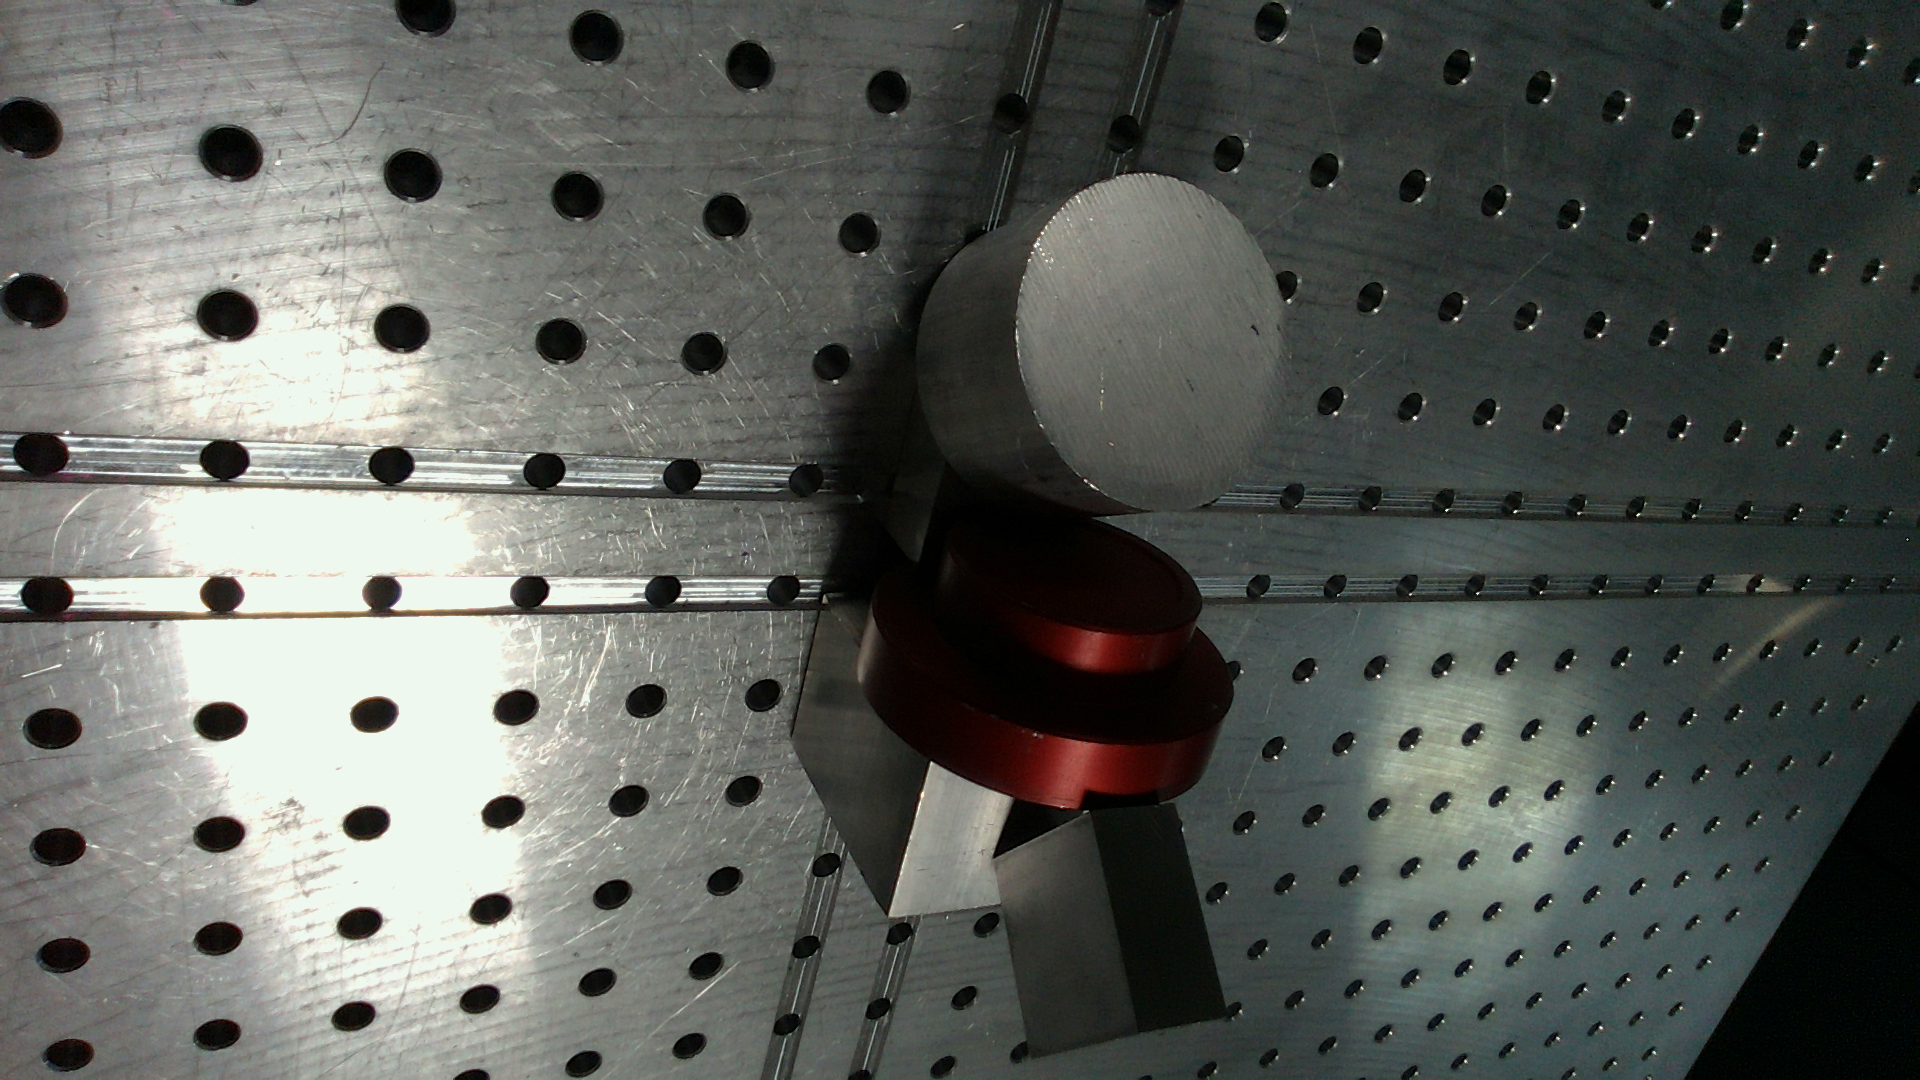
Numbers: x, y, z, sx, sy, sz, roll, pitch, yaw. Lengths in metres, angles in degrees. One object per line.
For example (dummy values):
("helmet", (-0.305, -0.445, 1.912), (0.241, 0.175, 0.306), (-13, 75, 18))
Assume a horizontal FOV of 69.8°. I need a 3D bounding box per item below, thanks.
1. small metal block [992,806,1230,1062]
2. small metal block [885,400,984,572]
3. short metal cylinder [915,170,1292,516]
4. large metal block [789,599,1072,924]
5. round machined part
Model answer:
("small metal block", (0.035, 0.097, 0.338), (0.025, 0.050, 0.050), (1, 156, -29))
("small metal block", (0.011, -0.019, 0.386), (0.050, 0.025, 0.050), (1, 118, -29))
("short metal cylinder", (0.036, -0.046, 0.345), (0.080, 0.050, 0.080), (1, 88, -29))
("large metal block", (0.006, 0.058, 0.395), (0.080, 0.080, 0.050), (1, 118, -29))
("round machined part", (0.025, 0.025, 0.360), (0.098, 0.098, 0.042), (1, 118, -29))
